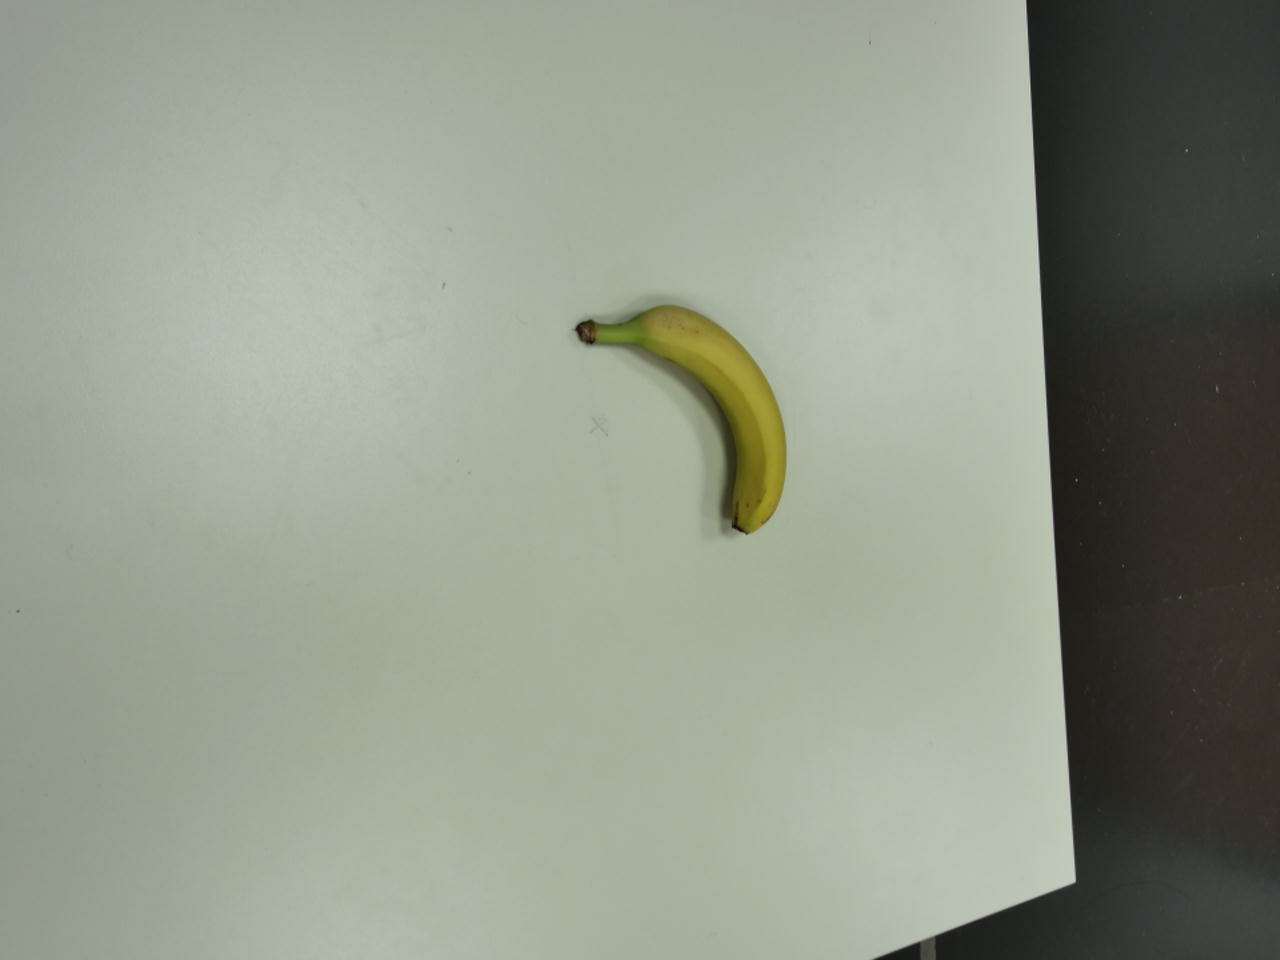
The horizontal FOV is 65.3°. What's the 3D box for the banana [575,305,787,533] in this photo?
[{"bbox_3d":[0.049,-0.060,0.724,0.094,0.041,0.196,-44,109,-21],"label":"banana"}]
